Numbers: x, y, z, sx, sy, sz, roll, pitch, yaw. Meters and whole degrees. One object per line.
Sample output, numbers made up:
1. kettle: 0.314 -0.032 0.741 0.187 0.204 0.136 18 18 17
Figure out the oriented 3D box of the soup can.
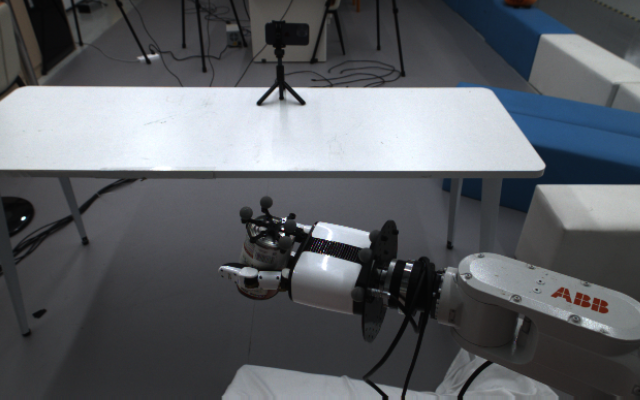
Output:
1. soup can: -0.075 0.081 0.669 0.067 0.101 0.067 13 35 -9
